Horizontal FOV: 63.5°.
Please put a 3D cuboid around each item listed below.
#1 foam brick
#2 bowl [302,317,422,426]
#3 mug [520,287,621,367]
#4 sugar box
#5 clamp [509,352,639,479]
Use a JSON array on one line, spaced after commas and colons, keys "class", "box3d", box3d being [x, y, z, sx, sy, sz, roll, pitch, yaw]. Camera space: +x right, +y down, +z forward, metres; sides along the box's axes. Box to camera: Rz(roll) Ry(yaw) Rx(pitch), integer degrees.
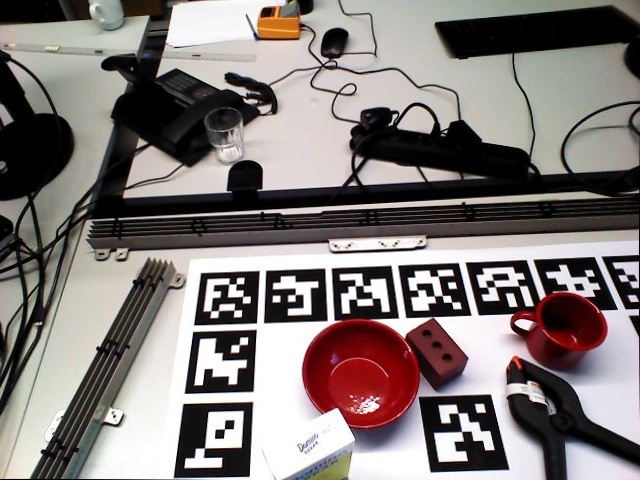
[{"class": "foam brick", "box3d": [0.174, 0.163, 0.737, 0.052, 0.051, 0.078, -25, 56, -14]}, {"class": "bowl", "box3d": [0.057, 0.185, 0.718, 0.162, 0.055, 0.160, -1, 53, 2]}, {"class": "mug", "box3d": [0.342, 0.121, 0.728, 0.117, 0.082, 0.092, 20, 56, 14]}, {"class": "sugar box", "box3d": [-0.017, 0.257, 0.593, 0.092, 0.177, 0.045, -22, 56, -15]}, {"class": "clamp", "box3d": [0.313, 0.235, 0.666, 0.165, 0.037, 0.202, -23, 55, -10]}]
